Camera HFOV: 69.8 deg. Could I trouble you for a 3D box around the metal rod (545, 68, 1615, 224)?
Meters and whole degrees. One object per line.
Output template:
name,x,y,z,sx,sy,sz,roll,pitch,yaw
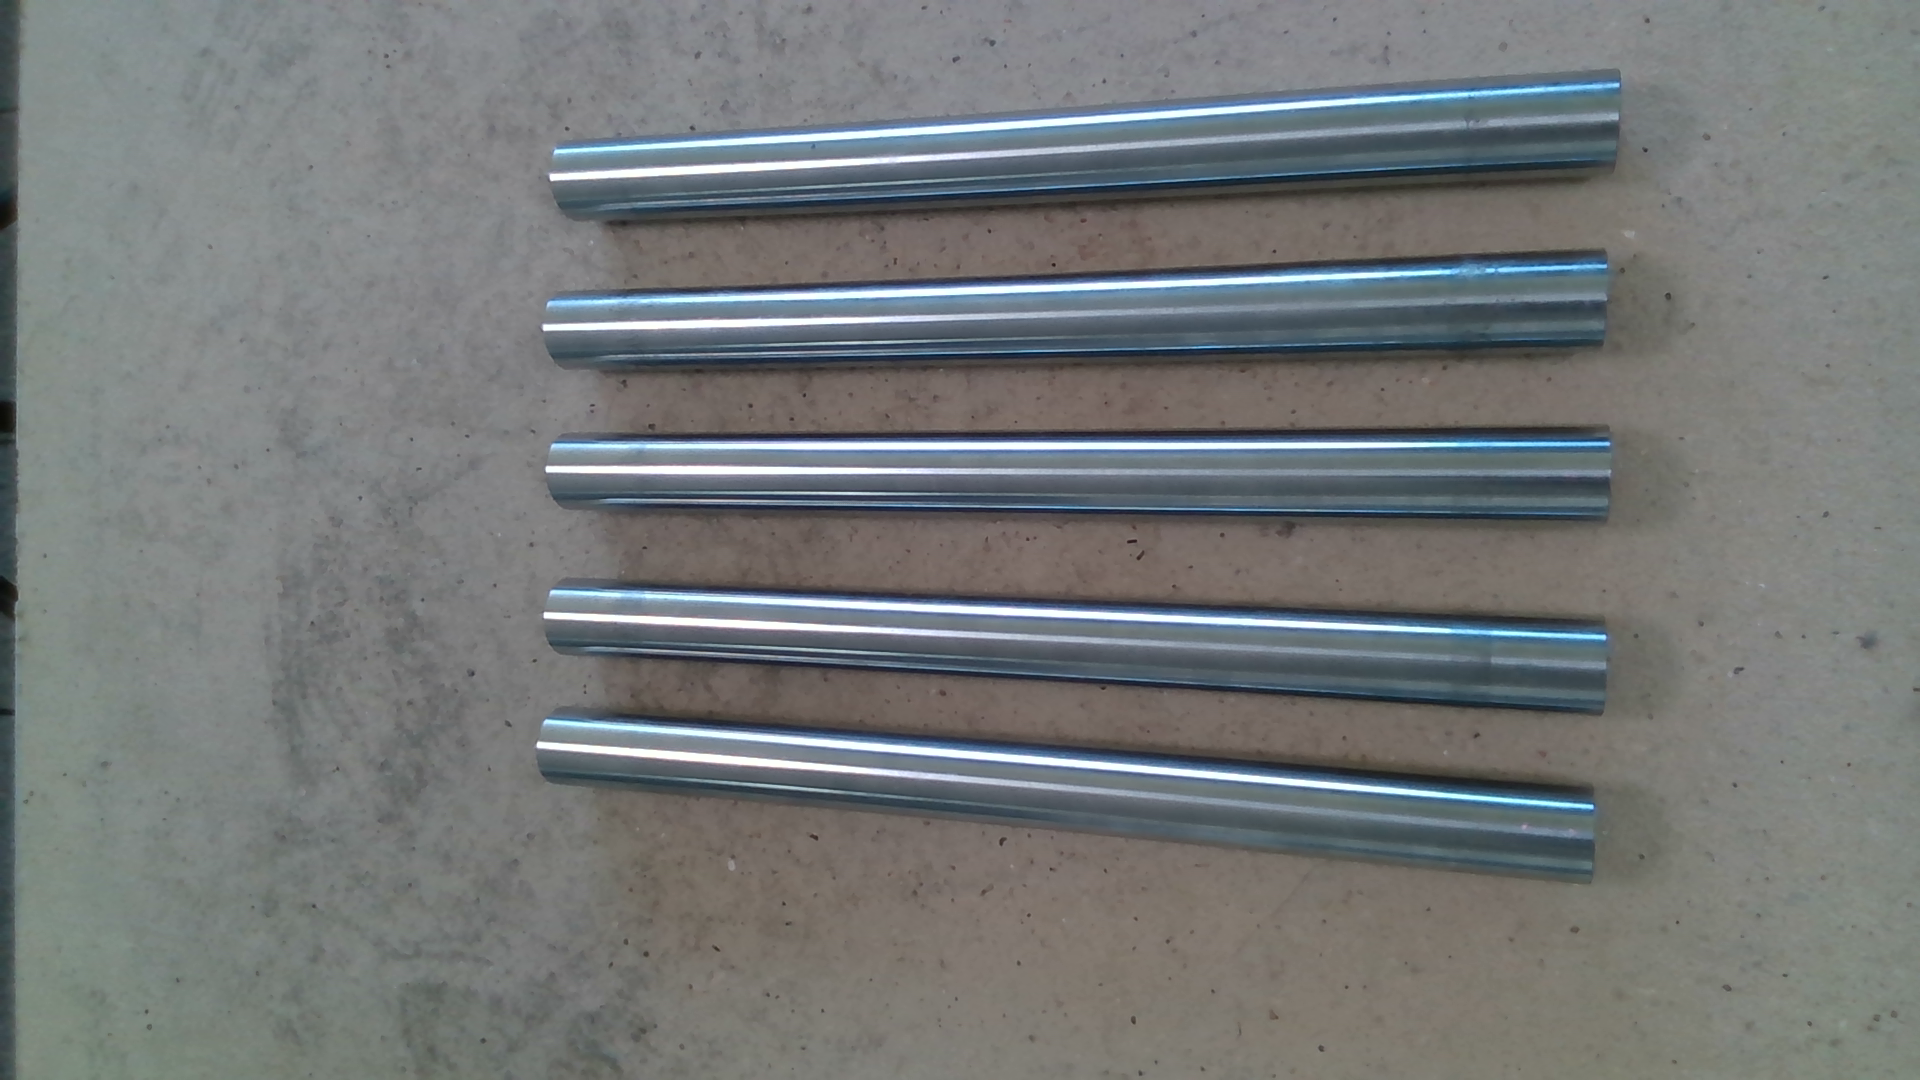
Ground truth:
metal rod,0.017,-0.107,0.386,0.300,0.025,0.025,2,91,20

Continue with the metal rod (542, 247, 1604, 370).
metal rod,0.015,-0.063,0.388,0.300,0.025,0.025,2,91,20

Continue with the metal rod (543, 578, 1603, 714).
metal rod,0.015,0.027,0.388,0.300,0.025,0.025,1,91,20

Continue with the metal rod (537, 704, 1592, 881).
metal rod,0.013,0.068,0.390,0.300,0.025,0.025,1,91,20

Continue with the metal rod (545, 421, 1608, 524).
metal rod,0.016,-0.019,0.388,0.300,0.025,0.025,1,91,20
